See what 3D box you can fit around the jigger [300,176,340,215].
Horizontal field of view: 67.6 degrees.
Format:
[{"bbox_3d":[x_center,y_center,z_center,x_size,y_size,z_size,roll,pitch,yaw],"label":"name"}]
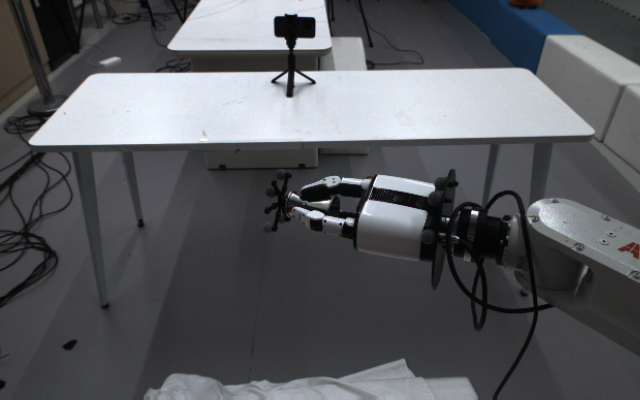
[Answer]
[{"bbox_3d":[-0.005,0.008,0.691,0.071,0.043,0.043,10,35,22],"label":"jigger"}]
